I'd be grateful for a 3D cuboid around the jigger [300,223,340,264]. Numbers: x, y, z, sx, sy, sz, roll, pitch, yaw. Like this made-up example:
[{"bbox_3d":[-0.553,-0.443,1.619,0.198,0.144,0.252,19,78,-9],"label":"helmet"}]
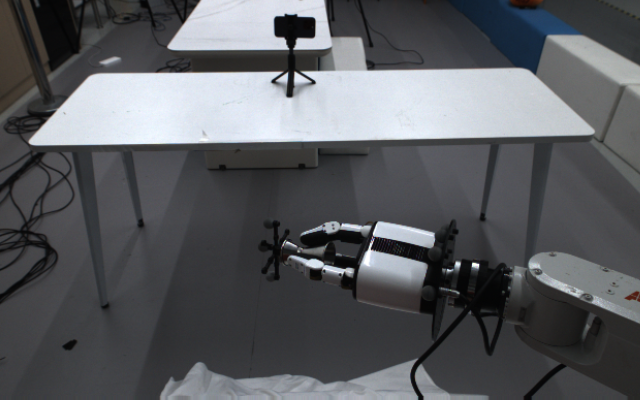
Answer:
[{"bbox_3d":[-0.011,0.074,0.687,0.071,0.043,0.043,4,33,23],"label":"jigger"}]
